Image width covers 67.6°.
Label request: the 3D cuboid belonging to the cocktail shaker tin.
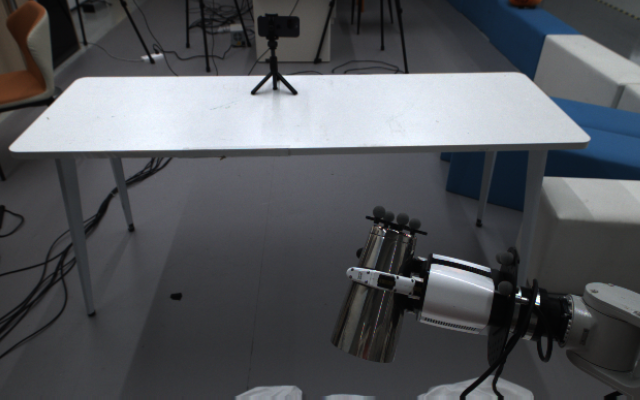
[{"bbox_3d":[0.083,0.125,0.673,0.093,0.170,0.093,15,-2,1],"label":"cocktail shaker tin"}]
